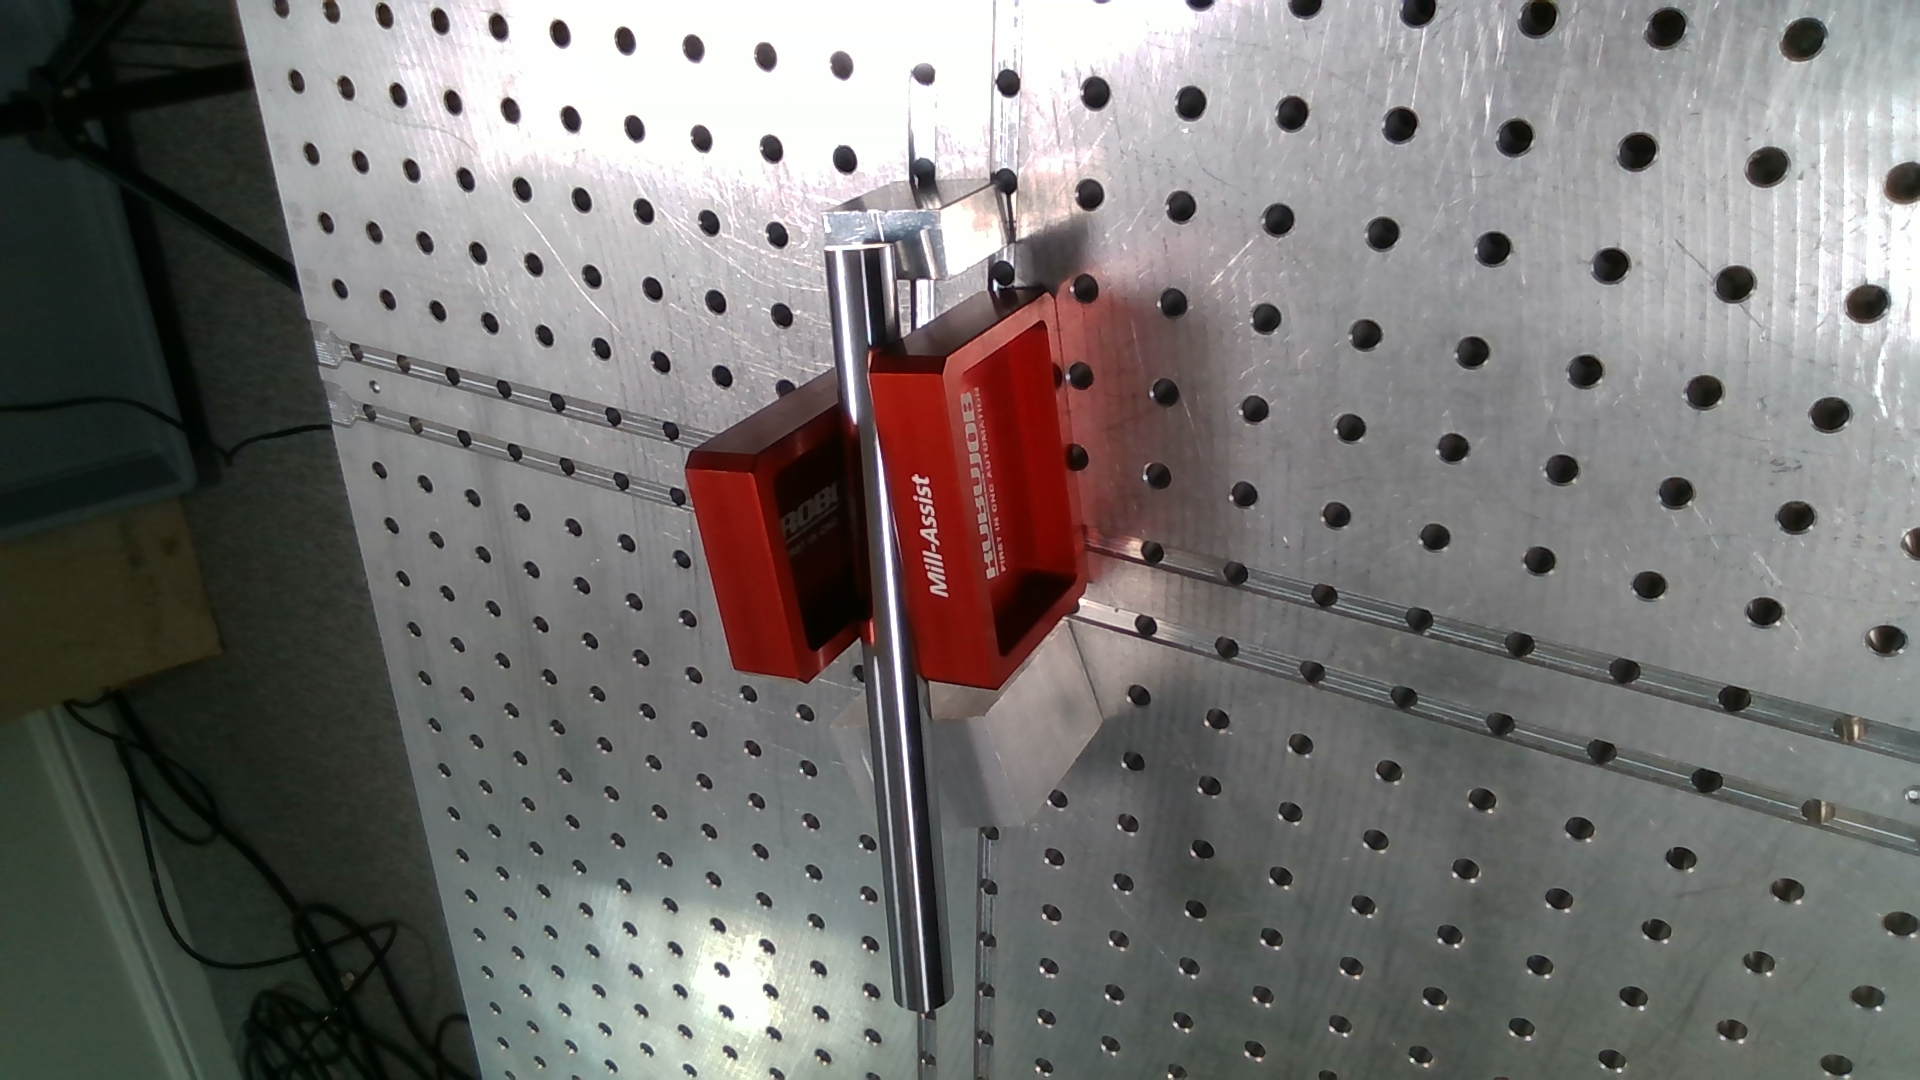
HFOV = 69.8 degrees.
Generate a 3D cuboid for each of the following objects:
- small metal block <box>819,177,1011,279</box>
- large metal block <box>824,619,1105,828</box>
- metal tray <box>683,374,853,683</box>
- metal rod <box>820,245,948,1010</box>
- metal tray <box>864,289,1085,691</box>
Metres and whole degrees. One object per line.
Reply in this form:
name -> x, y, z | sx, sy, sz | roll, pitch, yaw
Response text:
small metal block -> -0.016, -0.116, 0.512 | 0.050, 0.050, 0.025 | 6, 118, 29
large metal block -> 0.004, 0.078, 0.587 | 0.080, 0.080, 0.050 | -9, 110, 35
metal tray -> -0.046, -0.015, 0.535 | 0.030, 0.130, 0.090 | 5, 118, 30
metal rod -> -0.027, 0.041, 0.525 | 0.025, 0.025, 0.300 | 5, 108, 29
metal tray -> 0.010, -0.021, 0.522 | 0.030, 0.090, 0.130 | 6, 118, 30
